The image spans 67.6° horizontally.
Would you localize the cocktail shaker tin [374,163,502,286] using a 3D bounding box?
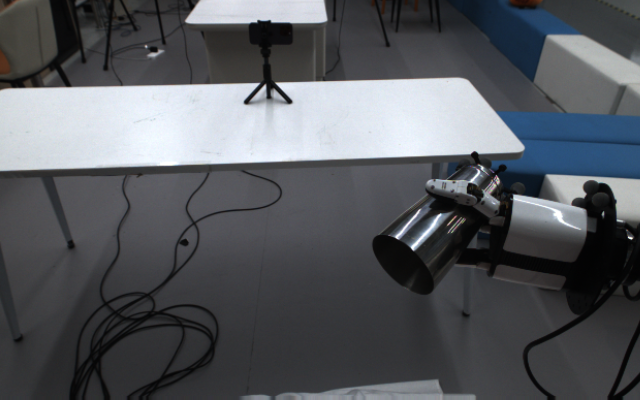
[{"bbox_3d":[0.156,0.022,0.607,0.170,0.093,0.093,-38,49,-23],"label":"cocktail shaker tin"}]
